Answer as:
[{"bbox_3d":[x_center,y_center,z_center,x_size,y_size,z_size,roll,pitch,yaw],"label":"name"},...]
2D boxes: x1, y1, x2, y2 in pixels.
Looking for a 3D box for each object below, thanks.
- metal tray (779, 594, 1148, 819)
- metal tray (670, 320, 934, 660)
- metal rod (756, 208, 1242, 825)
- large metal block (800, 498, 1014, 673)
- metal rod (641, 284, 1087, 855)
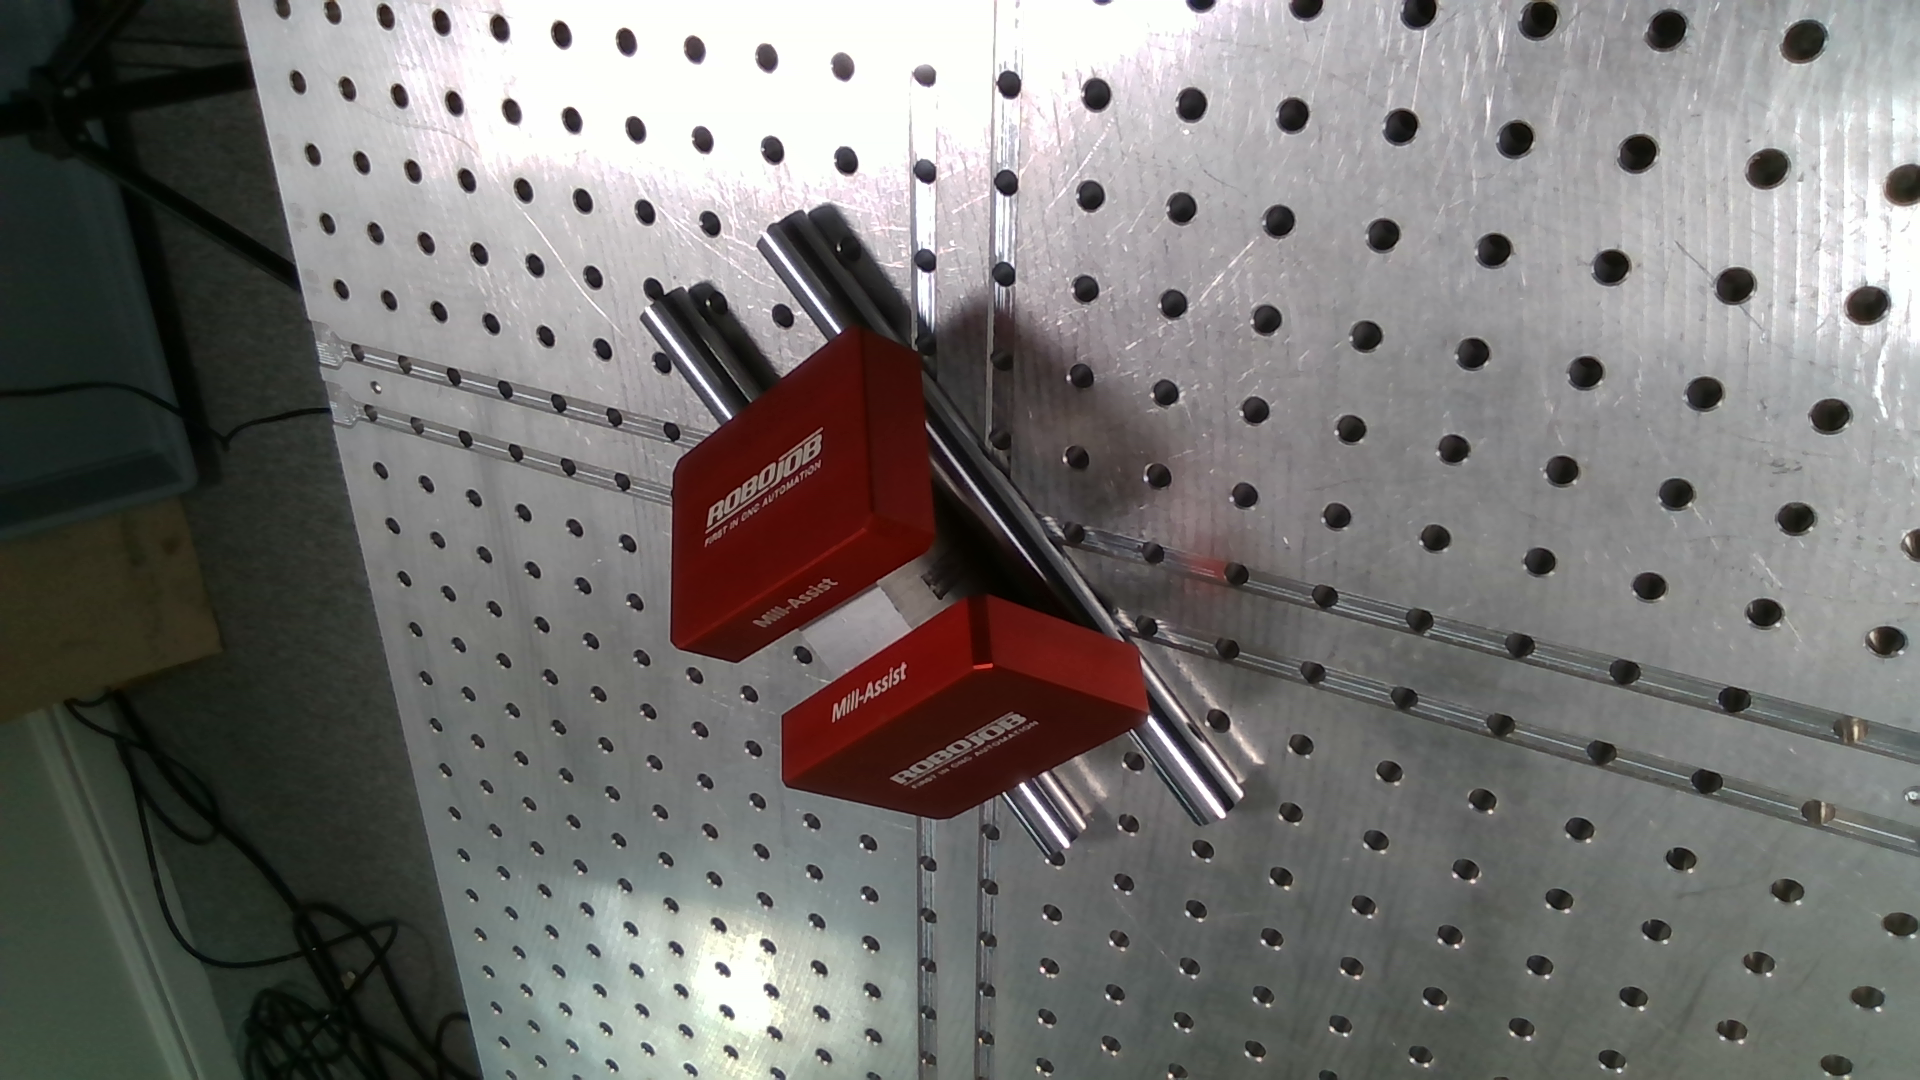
[{"bbox_3d":[-0.001,0.072,0.552,0.090,0.030,0.130,20,141,-35],"label":"metal tray"},{"bbox_3d":[-0.067,-0.016,0.545,0.130,0.030,0.090,-30,54,39],"label":"metal tray"},{"bbox_3d":[0.018,-0.008,0.568,0.025,0.025,0.300,-34,95,39],"label":"metal rod"},{"bbox_3d":[-0.020,0.023,0.571,0.050,0.080,0.080,-33,95,39],"label":"large metal block"},{"bbox_3d":[-0.041,0.015,0.617,0.025,0.025,0.300,-33,96,39],"label":"metal rod"}]
